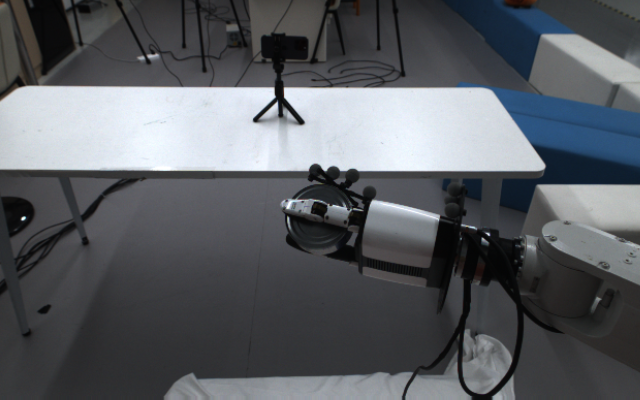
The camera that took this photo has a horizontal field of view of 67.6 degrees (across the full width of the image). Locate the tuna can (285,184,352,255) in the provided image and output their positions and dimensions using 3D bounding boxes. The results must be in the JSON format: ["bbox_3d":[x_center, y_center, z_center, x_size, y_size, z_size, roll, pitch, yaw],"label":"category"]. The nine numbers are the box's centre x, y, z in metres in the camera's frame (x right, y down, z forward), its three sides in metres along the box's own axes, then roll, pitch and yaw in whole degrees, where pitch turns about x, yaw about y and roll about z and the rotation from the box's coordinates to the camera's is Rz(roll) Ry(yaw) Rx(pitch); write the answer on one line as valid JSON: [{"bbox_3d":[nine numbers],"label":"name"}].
[{"bbox_3d":[0.003,0.023,0.613,0.085,0.034,0.085,-4,67,10],"label":"tuna can"}]
